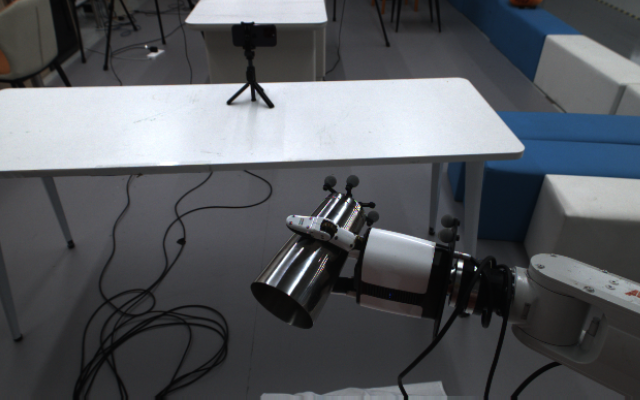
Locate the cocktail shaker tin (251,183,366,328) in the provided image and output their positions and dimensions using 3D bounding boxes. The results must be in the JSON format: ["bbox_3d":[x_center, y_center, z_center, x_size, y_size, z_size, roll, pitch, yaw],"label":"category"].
[{"bbox_3d":[-0.003,0.067,0.634,0.093,0.093,0.170,19,54,22],"label":"cocktail shaker tin"}]
